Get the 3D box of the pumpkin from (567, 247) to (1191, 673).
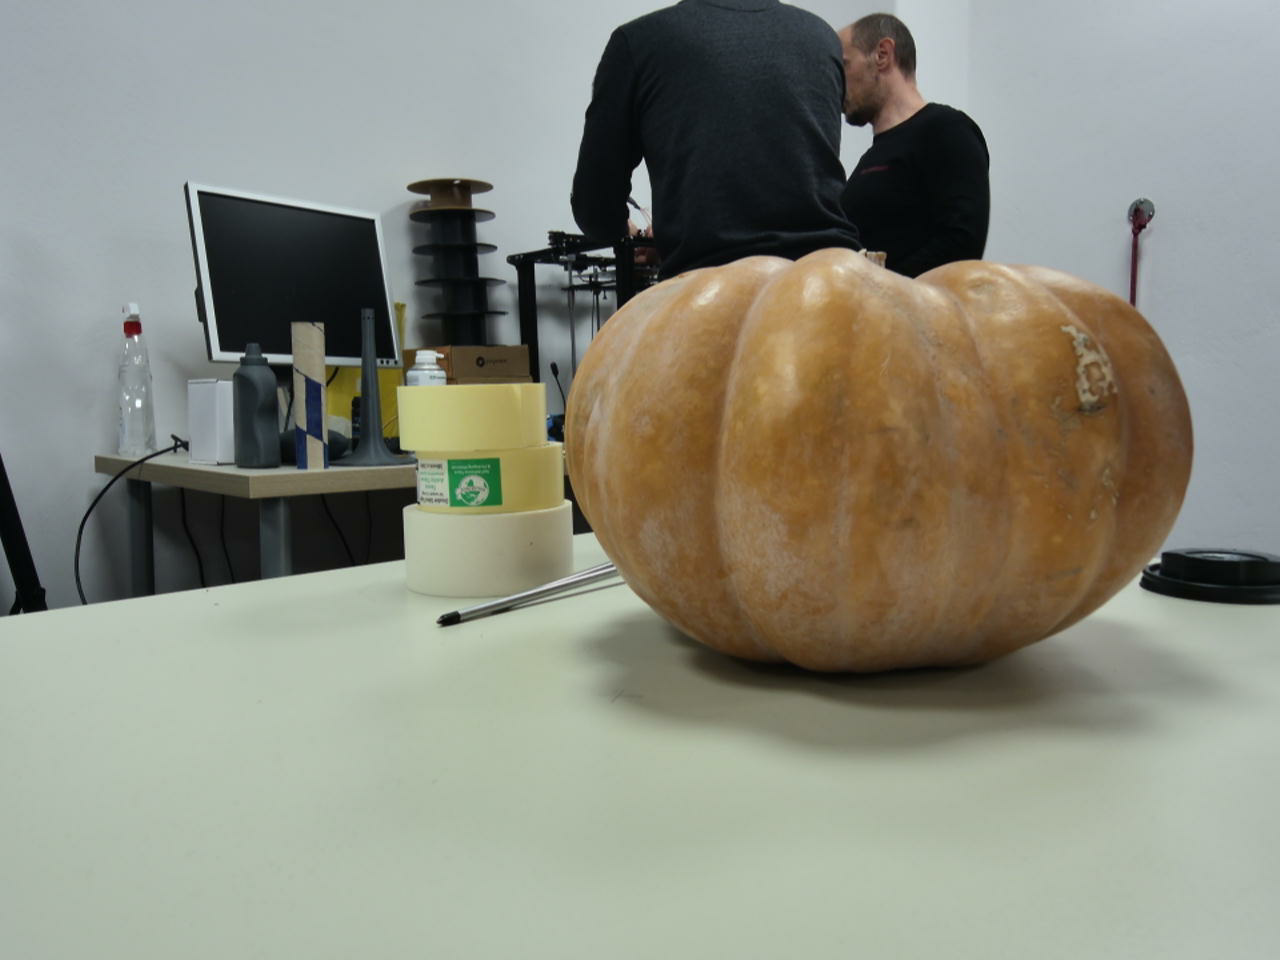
[{"bbox_3d":[0.098,-0.011,0.465,0.277,0.181,0.277,0,3,0],"label":"pumpkin"}]
